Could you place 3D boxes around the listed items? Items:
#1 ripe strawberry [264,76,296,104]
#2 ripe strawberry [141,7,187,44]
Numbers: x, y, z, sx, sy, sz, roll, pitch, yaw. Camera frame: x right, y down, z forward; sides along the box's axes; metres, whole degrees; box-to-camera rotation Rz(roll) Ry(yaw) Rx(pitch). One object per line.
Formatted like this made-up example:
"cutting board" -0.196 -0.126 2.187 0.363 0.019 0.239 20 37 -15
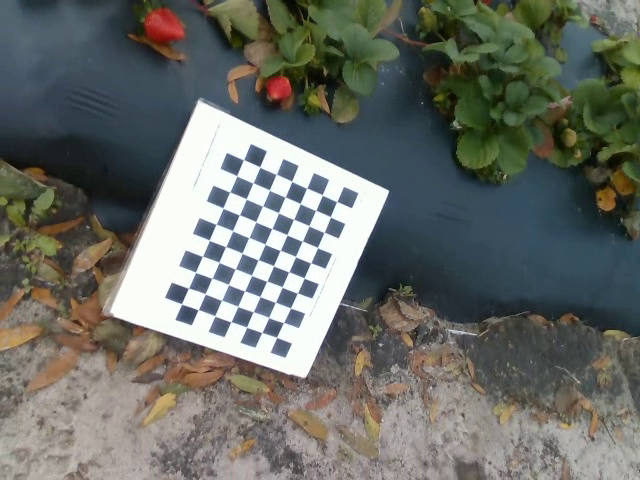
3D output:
"ripe strawberry" -0.054 -0.198 0.855 0.040 0.042 0.037 35 -53 -21
"ripe strawberry" -0.183 -0.261 0.800 0.065 0.047 0.042 30 1 30
